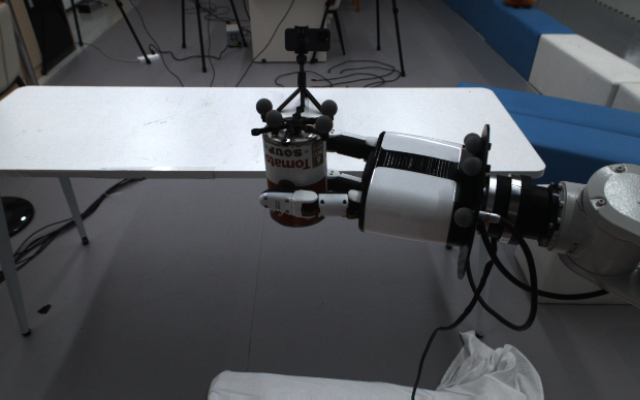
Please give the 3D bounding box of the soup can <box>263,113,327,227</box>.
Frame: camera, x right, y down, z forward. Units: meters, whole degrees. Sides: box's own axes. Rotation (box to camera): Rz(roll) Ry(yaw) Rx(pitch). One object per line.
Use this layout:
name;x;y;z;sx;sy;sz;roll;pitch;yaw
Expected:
soup can;-0.023;-0.032;0.527;0.067;0.101;0.067;-2;34;1
